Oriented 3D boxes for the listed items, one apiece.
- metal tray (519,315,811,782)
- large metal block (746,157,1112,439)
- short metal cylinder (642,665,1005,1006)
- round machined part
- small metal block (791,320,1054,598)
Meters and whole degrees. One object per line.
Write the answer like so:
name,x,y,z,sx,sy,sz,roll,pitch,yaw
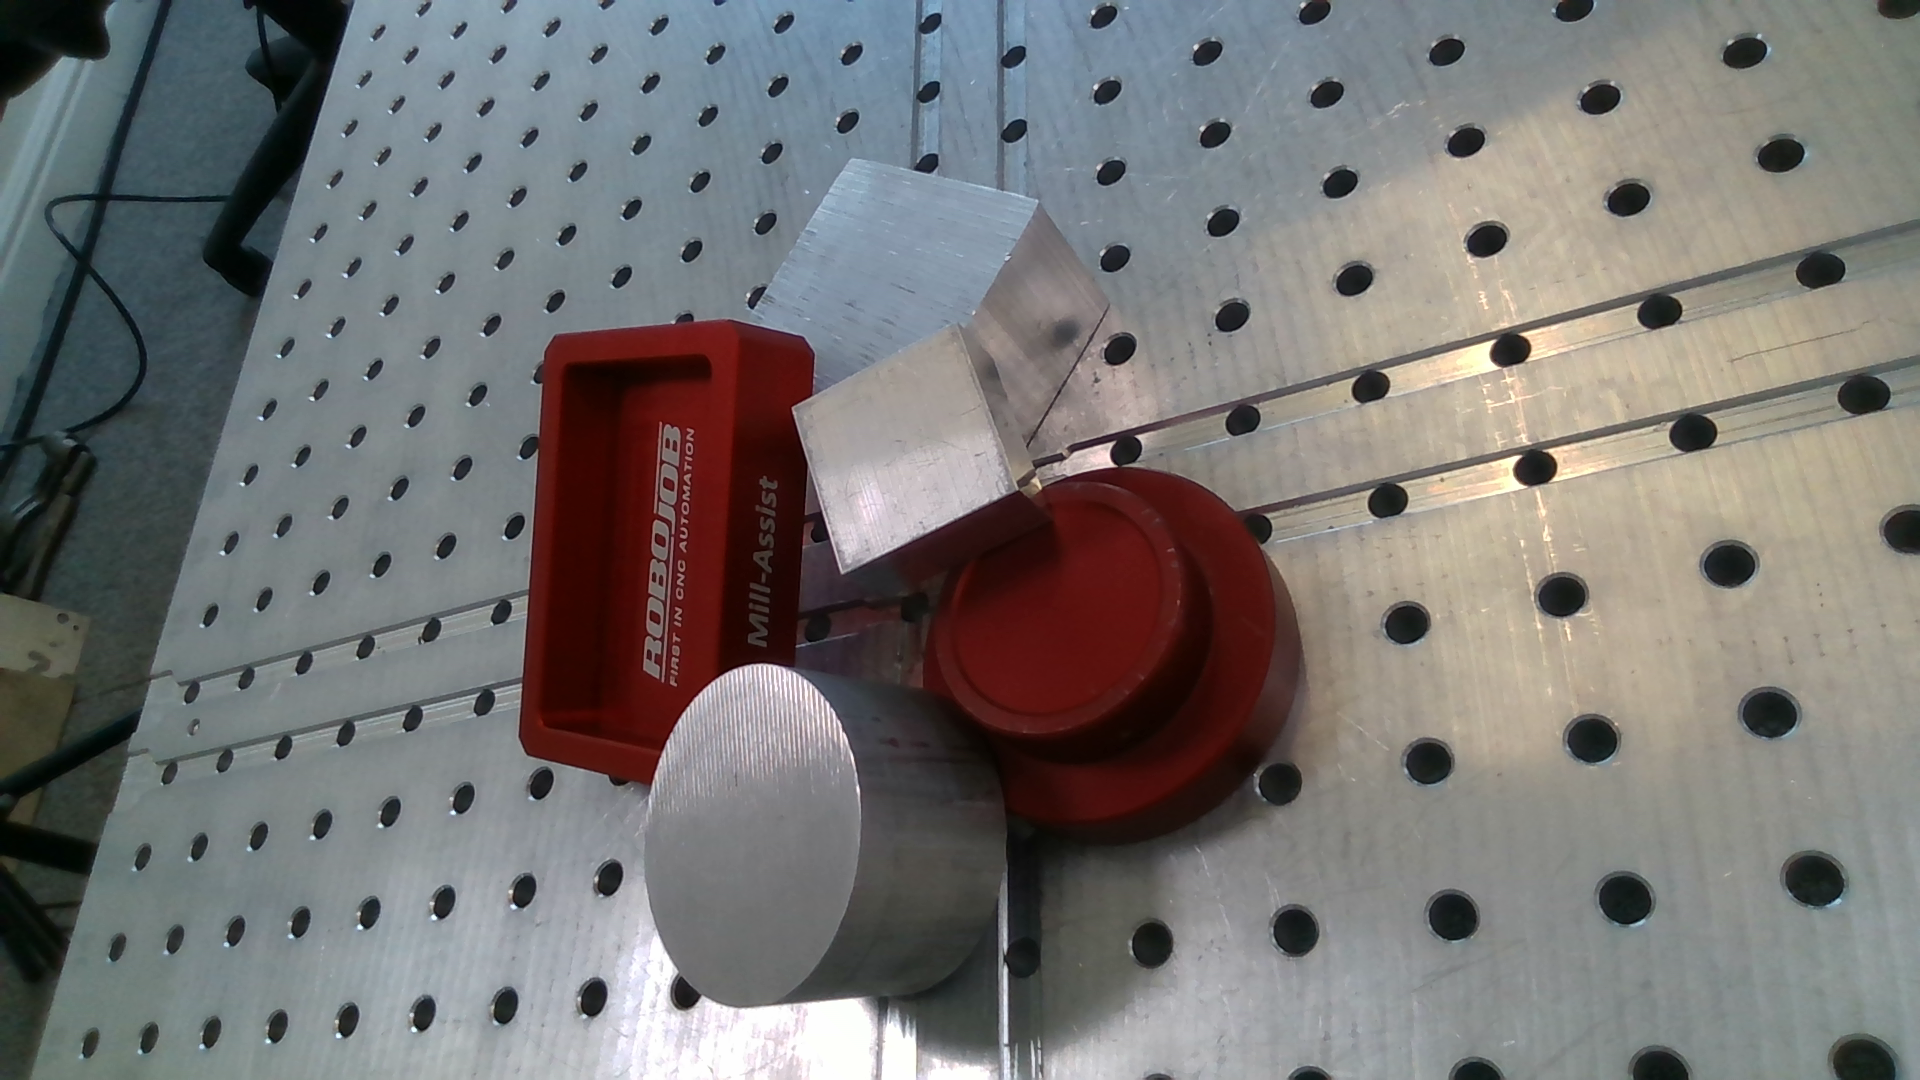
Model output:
metal tray,-0.089,0.003,0.409,0.090,0.030,0.130,3,89,40
large metal block,-0.014,-0.063,0.422,0.080,0.050,0.080,25,80,38
short metal cylinder,-0.035,0.074,0.348,0.080,0.050,0.080,-12,72,40
round machined part,0.032,0.025,0.352,0.098,0.042,0.098,-14,59,25
small metal block,-0.010,-0.020,0.353,0.050,0.025,0.050,-25,66,15
